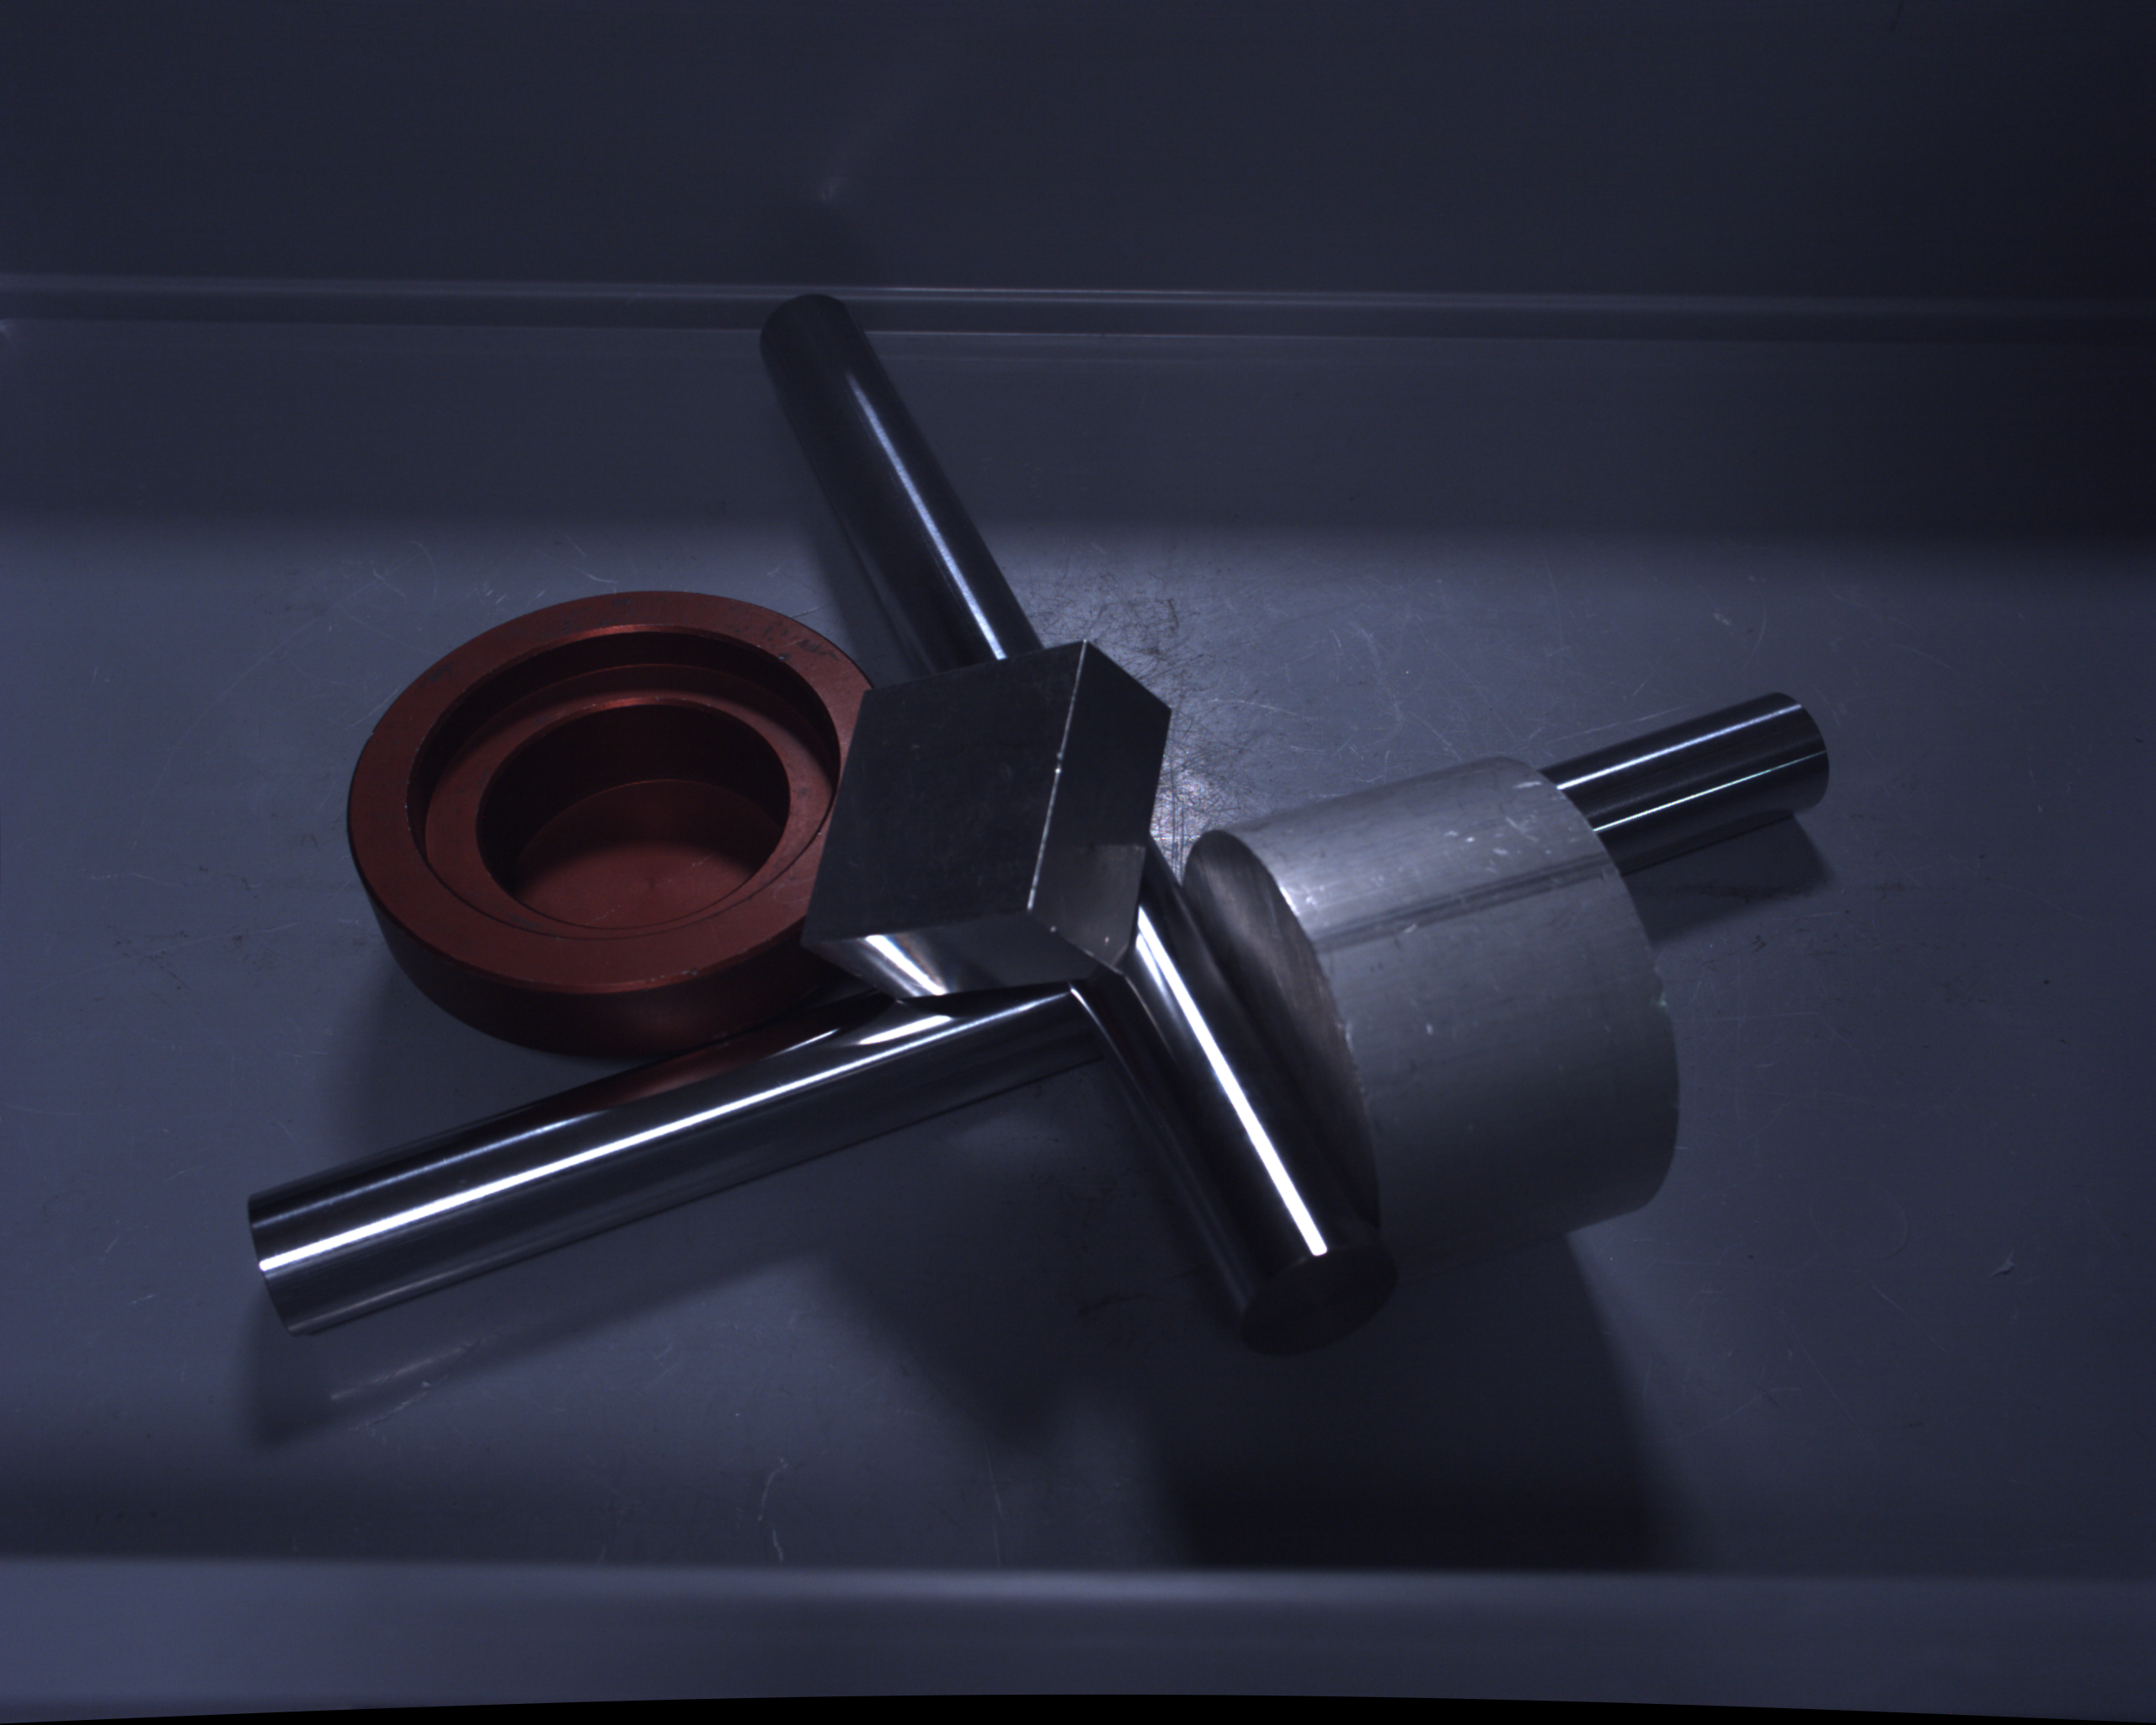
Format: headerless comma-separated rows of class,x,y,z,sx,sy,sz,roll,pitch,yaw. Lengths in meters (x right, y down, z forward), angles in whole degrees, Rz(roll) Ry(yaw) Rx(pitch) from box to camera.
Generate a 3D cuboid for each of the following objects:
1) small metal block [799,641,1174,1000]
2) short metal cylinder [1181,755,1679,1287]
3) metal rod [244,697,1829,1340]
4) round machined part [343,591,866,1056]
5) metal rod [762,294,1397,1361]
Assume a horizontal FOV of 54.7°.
small metal block,-0.015,-0.006,0.355,0.050,0.025,0.050,-8,60,37
short metal cylinder,0.055,0.027,0.346,0.050,0.080,0.080,-15,52,-13
metal rod,0.005,0.023,0.384,0.302,0.025,0.025,-18,53,-15
round machined part,-0.083,-0.003,0.394,0.099,0.042,0.098,0,50,0
metal rod,-0.015,-0.032,0.406,0.025,0.025,0.300,-15,45,-13
